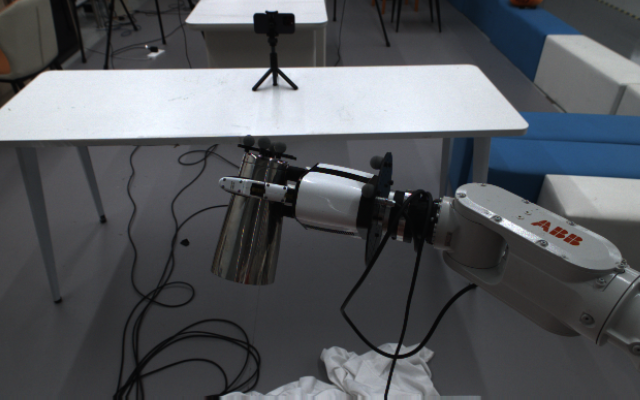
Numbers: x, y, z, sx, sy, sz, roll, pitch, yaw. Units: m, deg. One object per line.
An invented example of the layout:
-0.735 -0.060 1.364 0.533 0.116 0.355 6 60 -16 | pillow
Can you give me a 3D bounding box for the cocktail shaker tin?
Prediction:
-0.091 0.021 0.685 0.093 0.170 0.093 12 3 -1 | cocktail shaker tin
